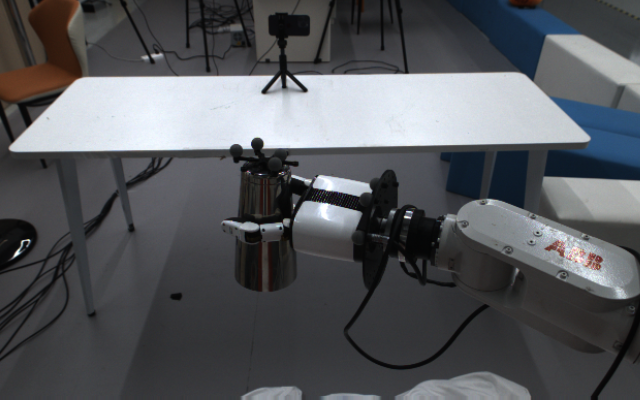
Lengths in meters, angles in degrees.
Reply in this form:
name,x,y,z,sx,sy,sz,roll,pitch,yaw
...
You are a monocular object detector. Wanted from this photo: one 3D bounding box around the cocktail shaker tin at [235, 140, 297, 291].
name,x,y,z,sx,sy,sz,roll,pitch,yaw
cocktail shaker tin,-0.075,0.032,0.679,0.093,0.170,0.093,2,26,-1
